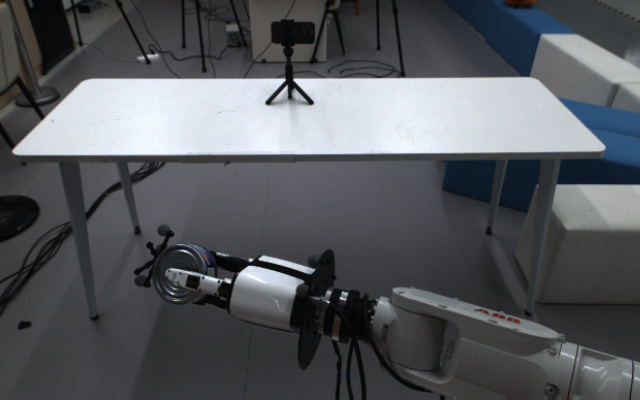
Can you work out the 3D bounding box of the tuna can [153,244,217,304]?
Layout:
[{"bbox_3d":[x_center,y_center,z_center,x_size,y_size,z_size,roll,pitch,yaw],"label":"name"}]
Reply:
[{"bbox_3d":[-0.189,0.103,0.681,0.085,0.085,0.034,12,-3,14],"label":"tuna can"}]
